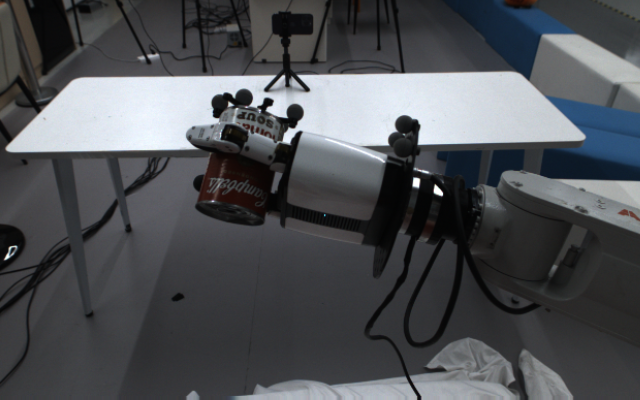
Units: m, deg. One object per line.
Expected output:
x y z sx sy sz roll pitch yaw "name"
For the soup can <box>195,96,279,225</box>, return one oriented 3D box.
-0.075 -0.032 0.474 0.067 0.067 0.101 8 72 8 "soup can"
